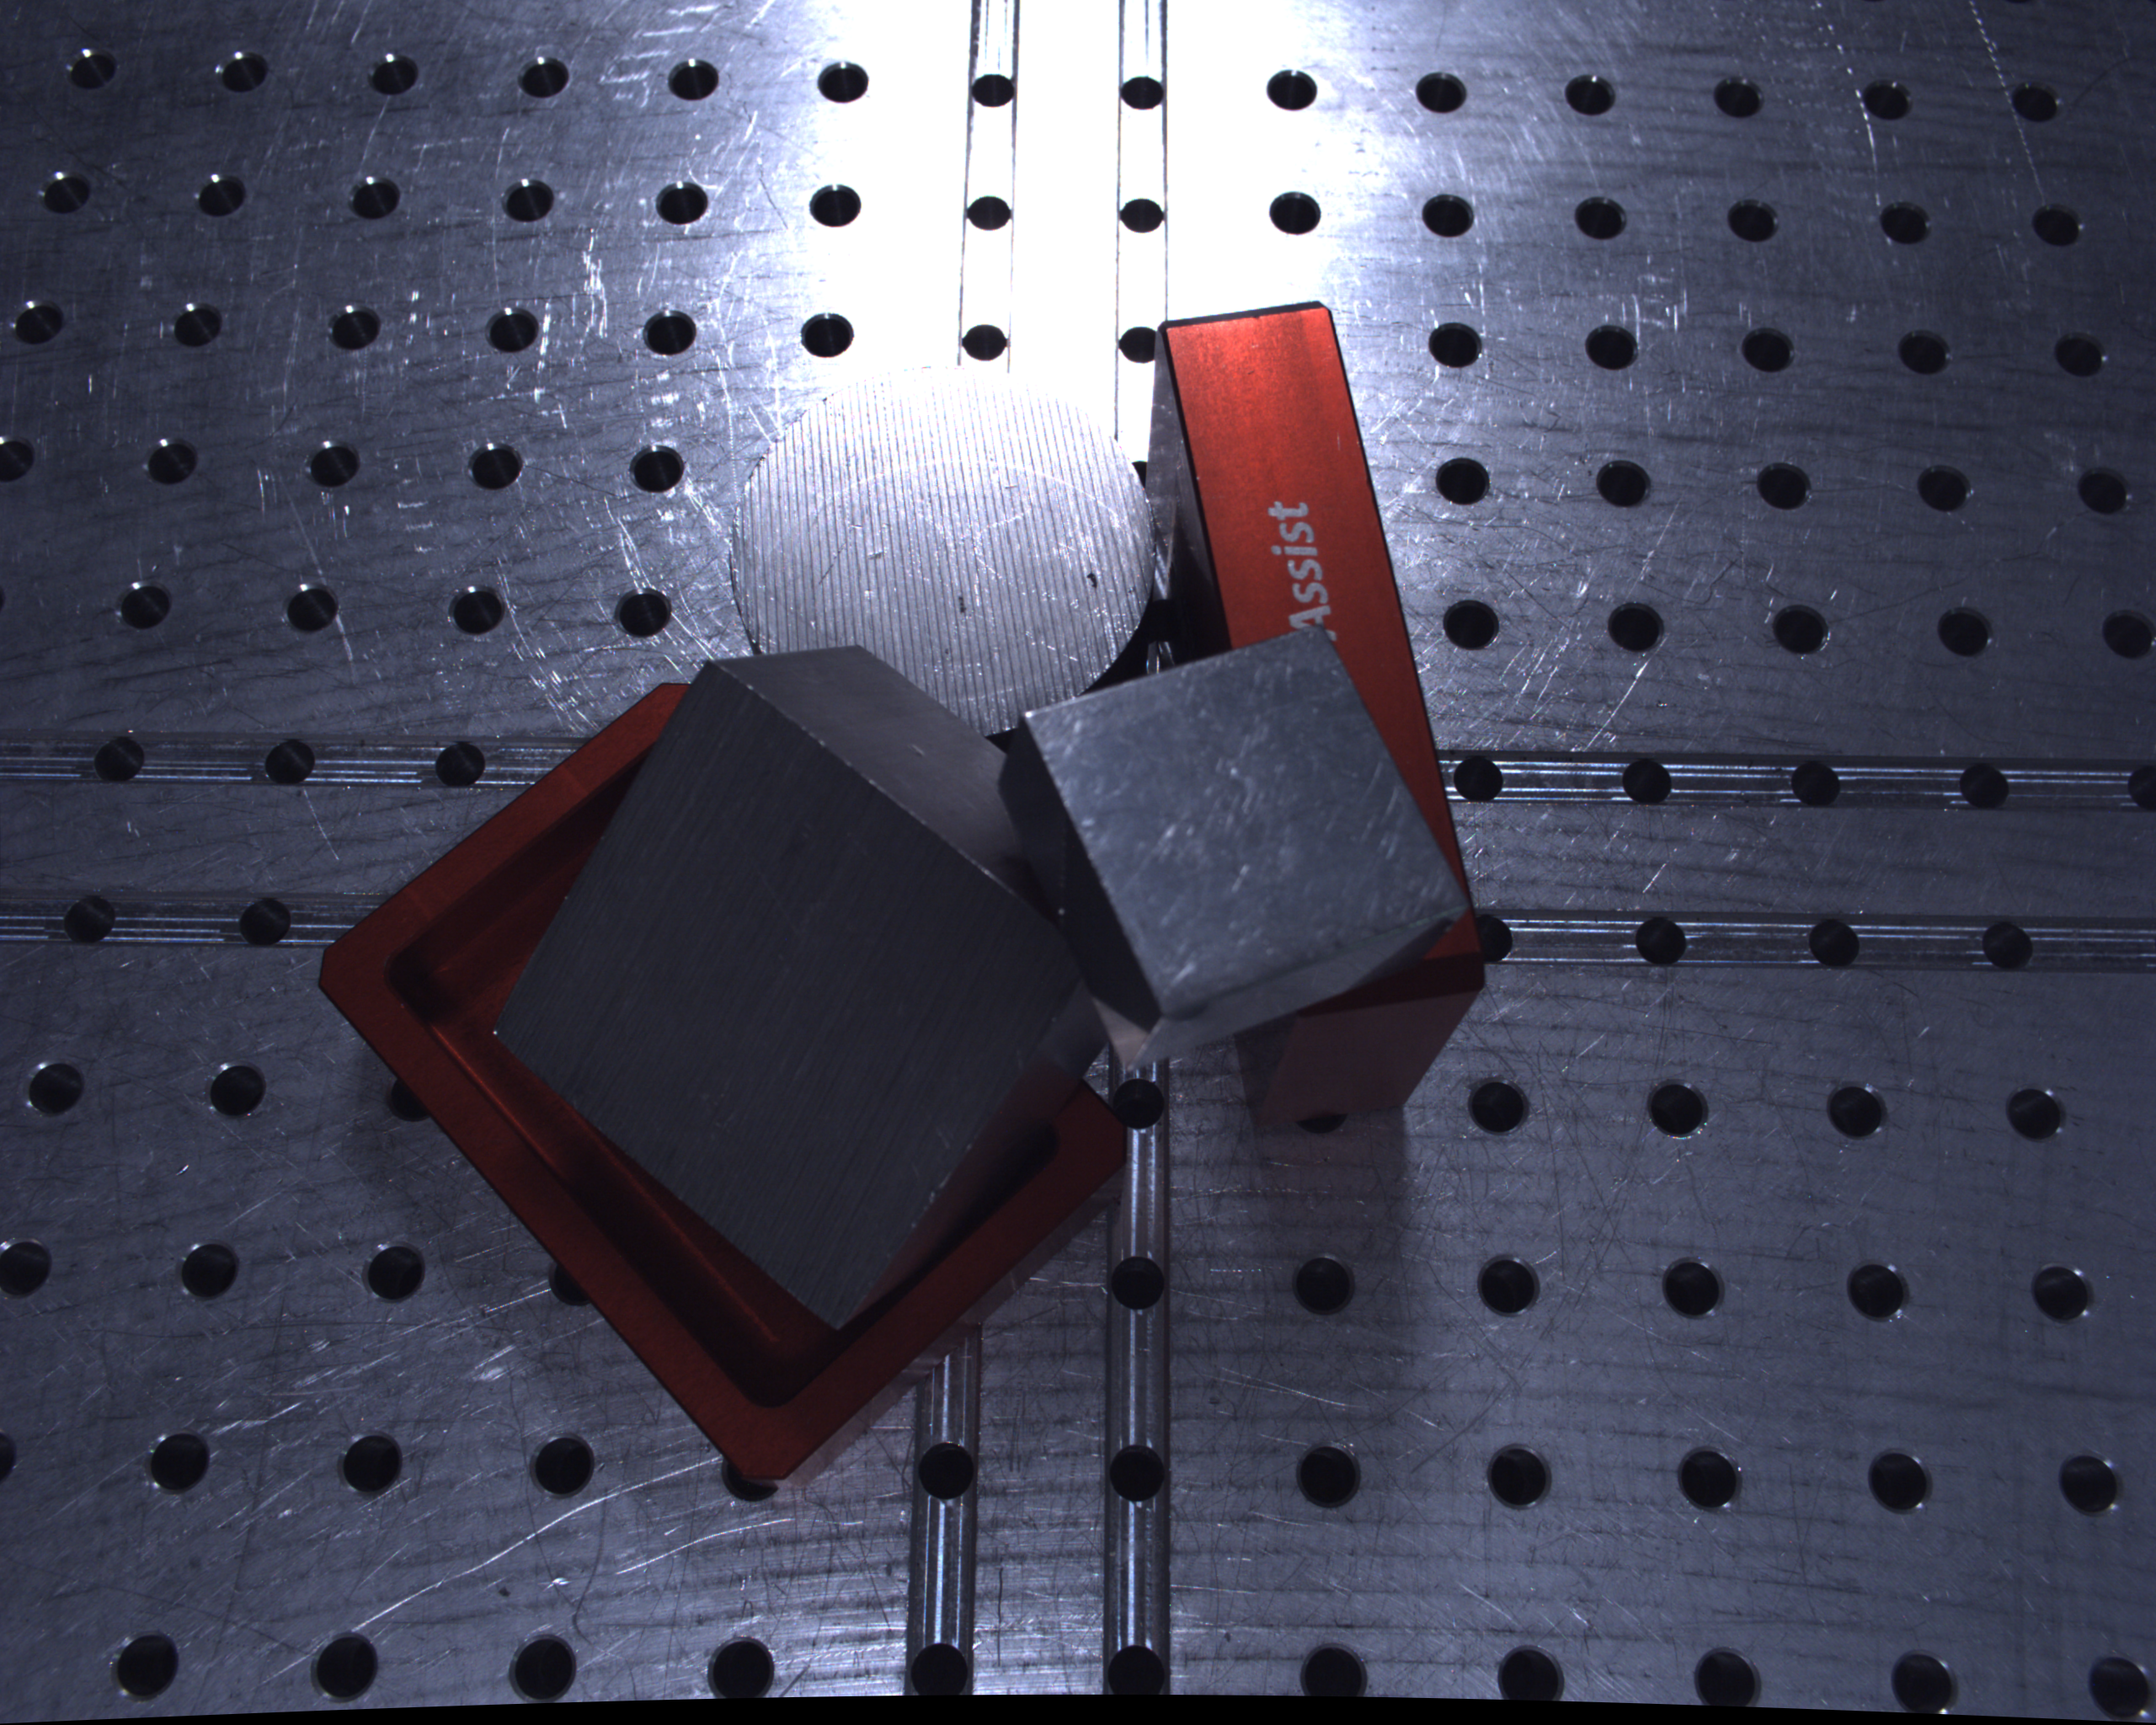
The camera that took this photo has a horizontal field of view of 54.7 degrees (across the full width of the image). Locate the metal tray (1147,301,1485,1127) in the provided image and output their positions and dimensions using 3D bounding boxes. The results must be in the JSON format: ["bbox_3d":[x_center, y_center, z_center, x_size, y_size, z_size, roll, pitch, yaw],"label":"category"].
[{"bbox_3d":[0.039,-0.025,0.387,0.030,0.090,0.129,-9,70,-3],"label":"metal tray"}]

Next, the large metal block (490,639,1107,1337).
[{"bbox_3d":[-0.039,0.018,0.358,0.080,0.050,0.080,38,110,12],"label":"large metal block"}]

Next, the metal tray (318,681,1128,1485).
[{"bbox_3d":[-0.065,0.040,0.393,0.090,0.030,0.130,-41,76,-14],"label":"metal tray"}]

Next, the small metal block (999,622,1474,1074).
[{"bbox_3d":[0.023,-0.003,0.313,0.050,0.025,0.050,-19,71,-19],"label":"small metal block"}]

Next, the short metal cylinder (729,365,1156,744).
[{"bbox_3d":[-0.026,-0.051,0.417,0.081,0.050,0.080,0,70,0],"label":"short metal cylinder"}]
